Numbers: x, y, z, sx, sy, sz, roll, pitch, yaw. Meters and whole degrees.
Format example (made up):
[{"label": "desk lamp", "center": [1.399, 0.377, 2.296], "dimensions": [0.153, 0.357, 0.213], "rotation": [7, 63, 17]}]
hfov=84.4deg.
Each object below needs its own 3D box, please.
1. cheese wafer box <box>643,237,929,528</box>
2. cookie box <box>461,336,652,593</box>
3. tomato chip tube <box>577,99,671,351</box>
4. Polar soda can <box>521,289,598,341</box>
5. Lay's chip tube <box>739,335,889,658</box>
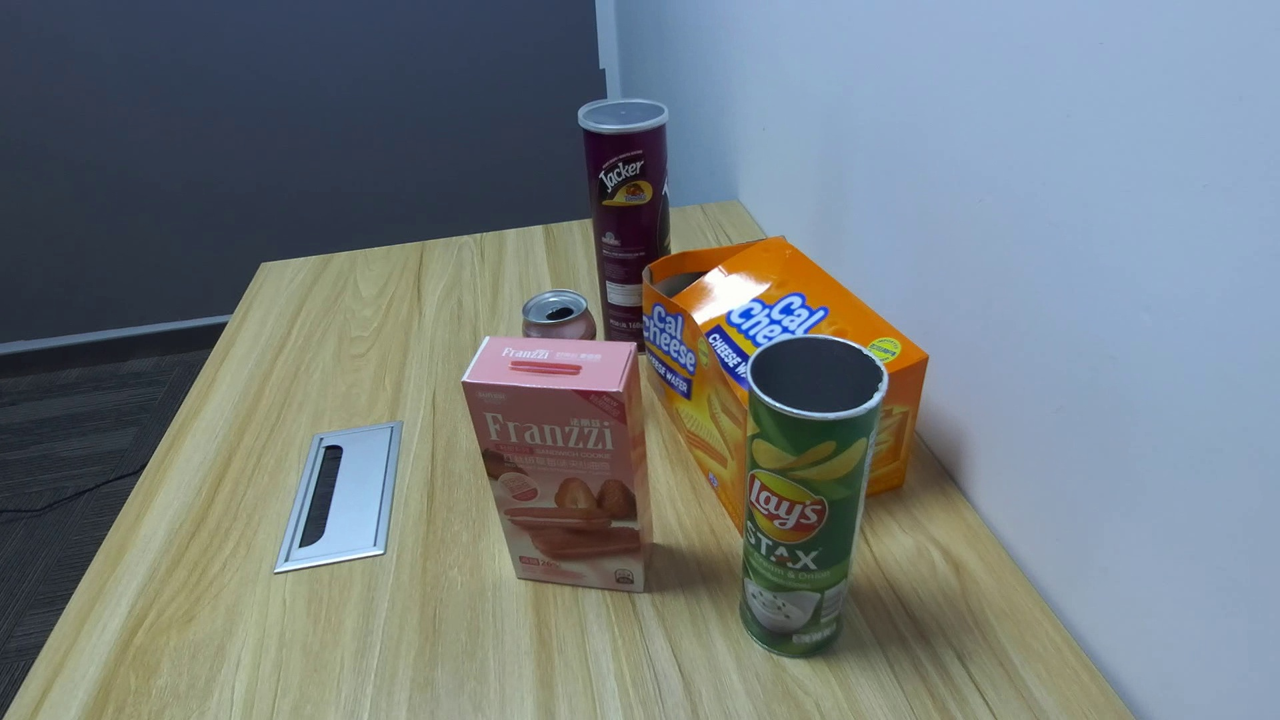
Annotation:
[{"label": "cheese wafer box", "center": [0.101, 0.008, 0.591], "dimensions": [0.152, 0.132, 0.229], "rotation": [-15, 38, -14]}, {"label": "cookie box", "center": [-0.046, 0.074, 0.462], "dimensions": [0.096, 0.185, 0.048], "rotation": [3, 38, 10]}, {"label": "tomato chip tube", "center": [-0.007, -0.117, 0.687], "dimensions": [0.078, 0.234, 0.078], "rotation": [-2, 31, 2]}, {"label": "Polar soda can", "center": [-0.066, 0.005, 0.619], "dimensions": [0.067, 0.122, 0.074], "rotation": [12, 37, 24]}, {"label": "Lay's chip tube", "center": [0.094, 0.085, 0.408], "dimensions": [0.071, 0.203, 0.071], "rotation": [-4, 37, 3]}]
